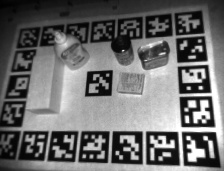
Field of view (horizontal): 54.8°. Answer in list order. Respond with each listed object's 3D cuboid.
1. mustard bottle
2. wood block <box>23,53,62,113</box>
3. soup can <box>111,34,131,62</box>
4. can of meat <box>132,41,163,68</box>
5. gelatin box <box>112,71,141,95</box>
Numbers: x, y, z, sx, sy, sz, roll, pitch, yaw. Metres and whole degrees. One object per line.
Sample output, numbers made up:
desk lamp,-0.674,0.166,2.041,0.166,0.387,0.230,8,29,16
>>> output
mustard bottle,-0.170,-0.127,0.772,0.096,0.193,0.058,-26,66,2
wood block,-0.259,-0.009,0.802,0.090,0.090,0.205,-1,67,12
soup can,0.026,-0.131,0.763,0.067,0.103,0.068,-4,72,13
can of meat,0.124,-0.107,0.753,0.101,0.084,0.057,-15,69,5
gelatin box,0.051,-0.008,0.759,0.088,0.030,0.073,8,75,18
